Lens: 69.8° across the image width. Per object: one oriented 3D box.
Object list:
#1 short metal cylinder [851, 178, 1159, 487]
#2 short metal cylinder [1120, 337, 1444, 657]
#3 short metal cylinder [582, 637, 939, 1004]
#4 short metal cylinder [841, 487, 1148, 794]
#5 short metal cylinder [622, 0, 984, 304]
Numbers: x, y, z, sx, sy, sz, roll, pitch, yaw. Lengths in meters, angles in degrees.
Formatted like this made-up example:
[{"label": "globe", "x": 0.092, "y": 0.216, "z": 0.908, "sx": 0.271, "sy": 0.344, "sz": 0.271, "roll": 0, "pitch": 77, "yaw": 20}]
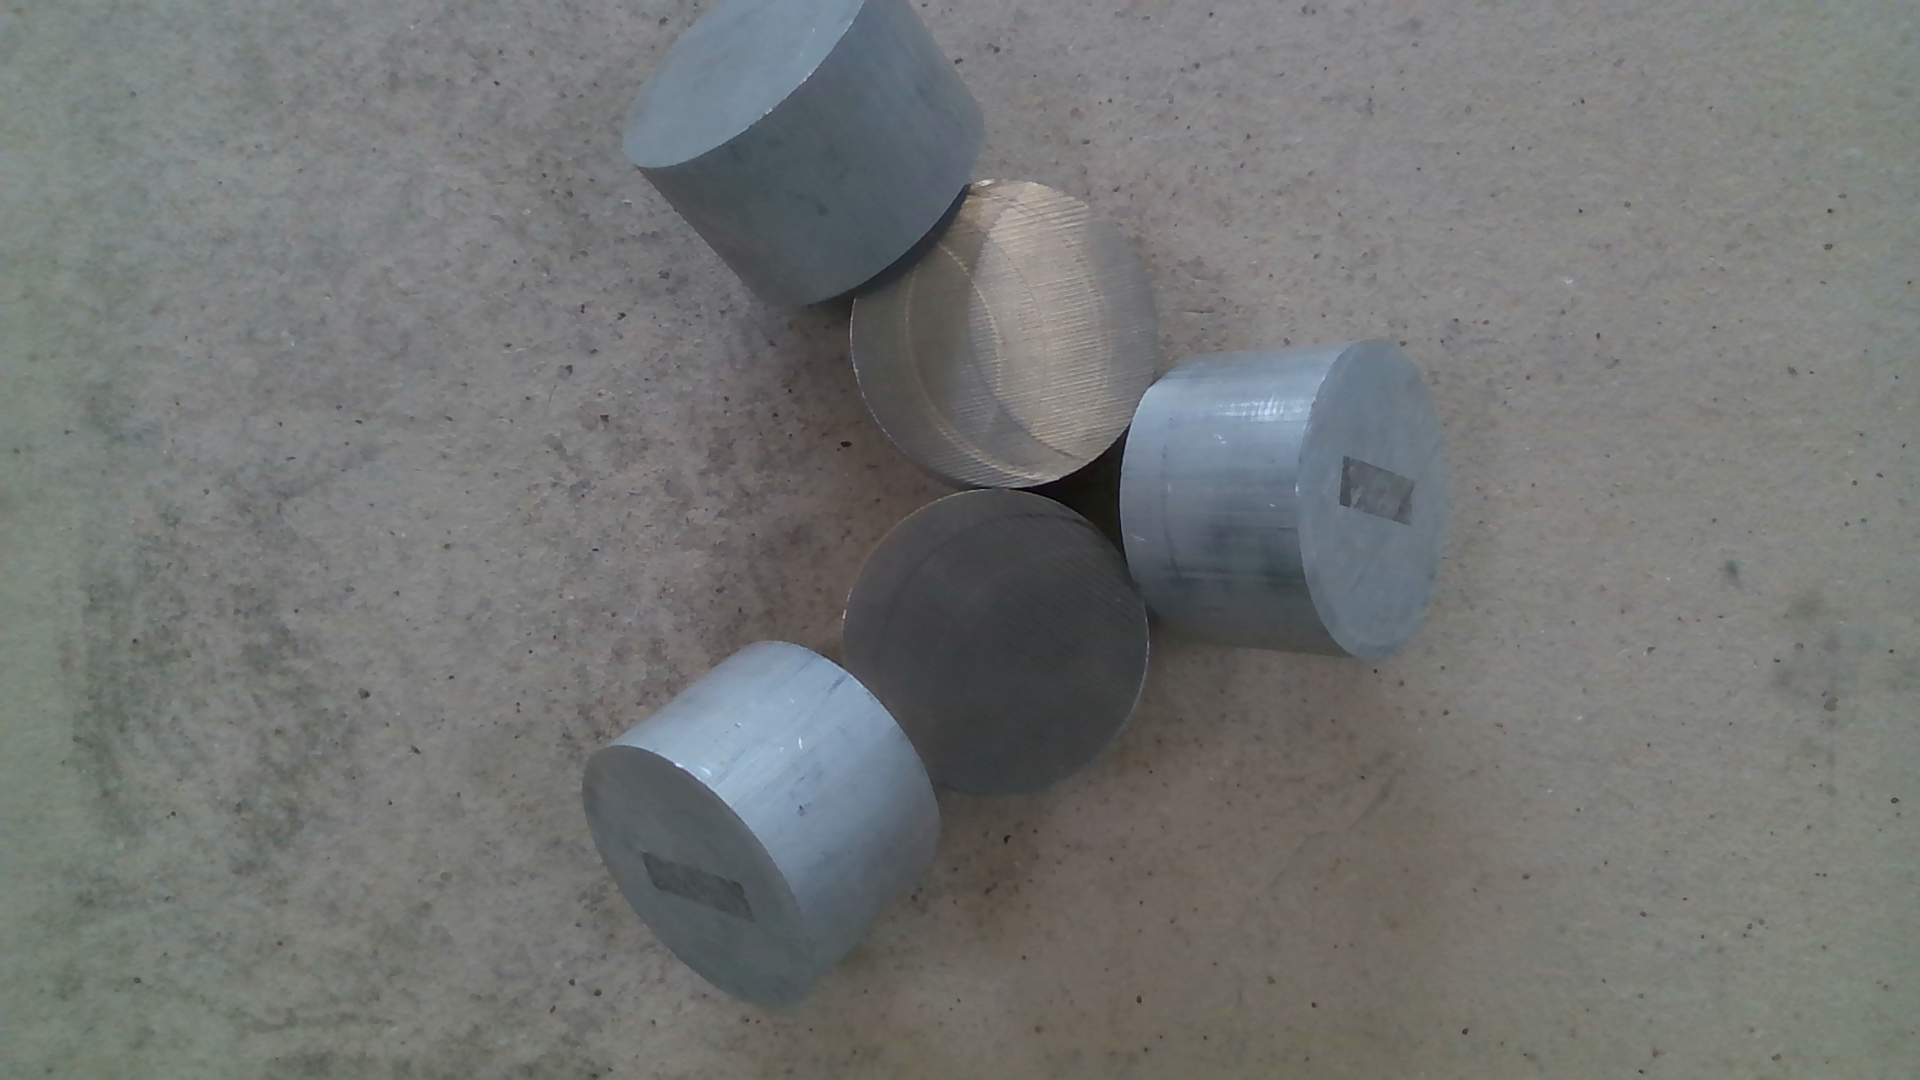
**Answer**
[{"label": "short metal cylinder", "x": 0.012, "y": -0.054, "z": 0.383, "sx": 0.080, "sy": 0.050, "sz": 0.080, "roll": 0, "pitch": 90, "yaw": 0}, {"label": "short metal cylinder", "x": 0.086, "y": -0.011, "z": 0.362, "sx": 0.050, "sy": 0.080, "sz": 0.080, "roll": 2, "pitch": 90, "yaw": 43}, {"label": "short metal cylinder", "x": -0.052, "y": 0.073, "z": 0.362, "sx": 0.080, "sy": 0.080, "sz": 0.050, "roll": 53, "pitch": 48, "yaw": 0}, {"label": "short metal cylinder", "x": 0.009, "y": 0.026, "z": 0.383, "sx": 0.080, "sy": 0.050, "sz": 0.080, "roll": 0, "pitch": 90, "yaw": 0}, {"label": "short metal cylinder", "x": -0.041, "y": -0.109, "z": 0.361, "sx": 0.080, "sy": 0.080, "sz": 0.050, "roll": -44, "pitch": 130, "yaw": 0}]
